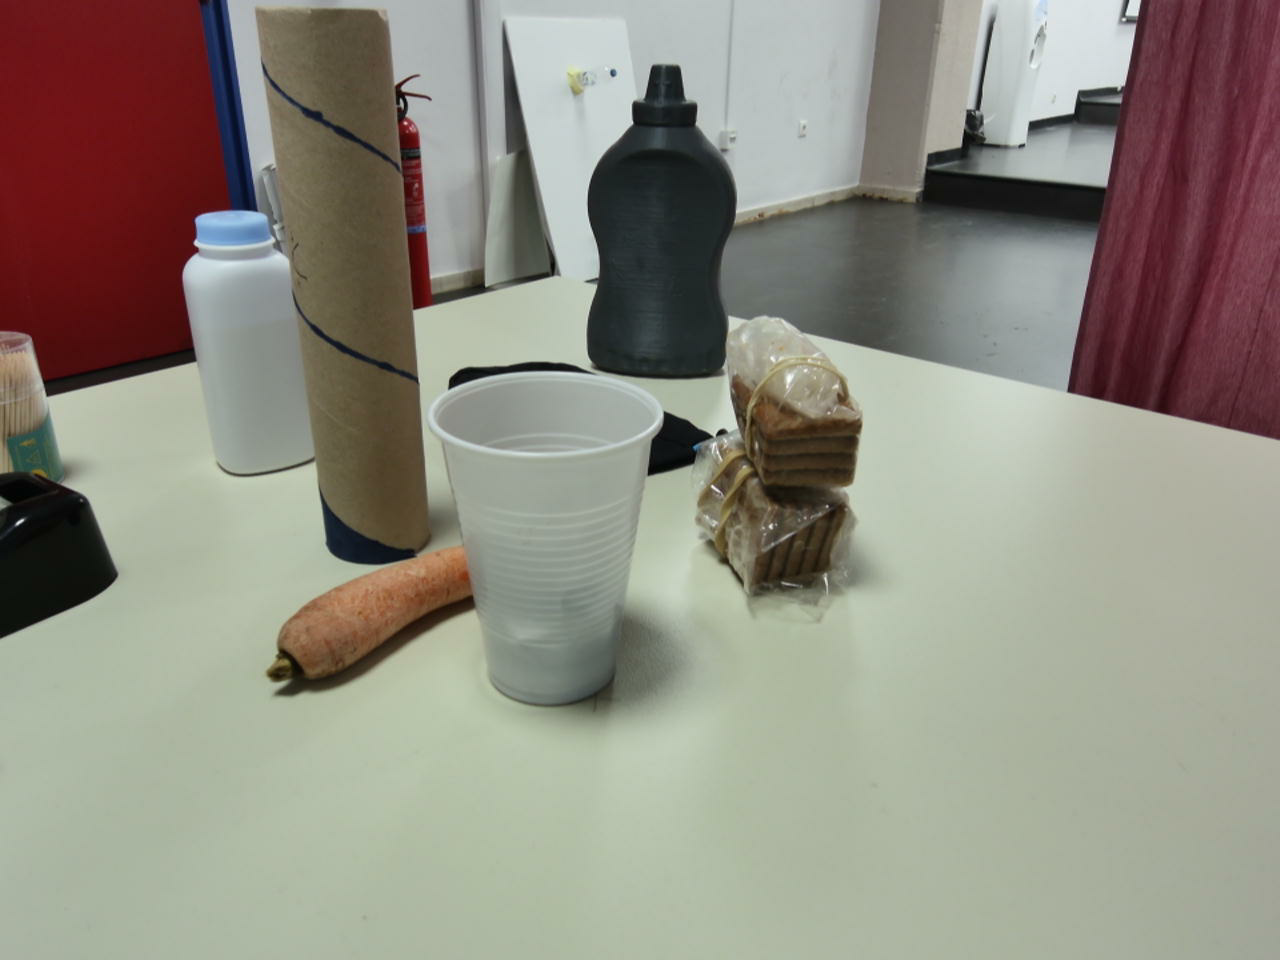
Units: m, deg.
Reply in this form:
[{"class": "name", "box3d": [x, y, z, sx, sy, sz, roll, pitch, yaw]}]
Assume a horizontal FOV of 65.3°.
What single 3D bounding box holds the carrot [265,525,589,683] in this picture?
[{"class": "carrot", "box3d": [-0.083, 0.041, 0.417, 0.031, 0.029, 0.163, 18, 29, 36]}]
